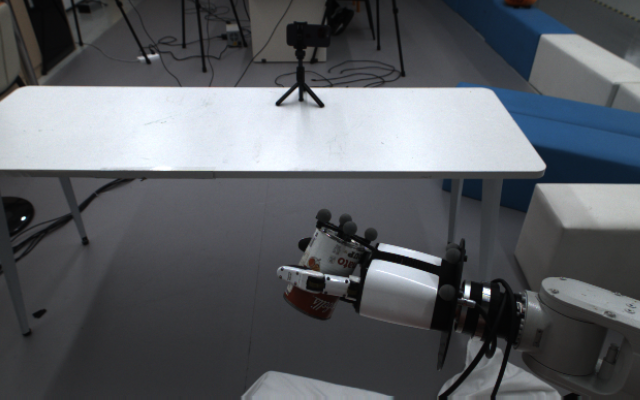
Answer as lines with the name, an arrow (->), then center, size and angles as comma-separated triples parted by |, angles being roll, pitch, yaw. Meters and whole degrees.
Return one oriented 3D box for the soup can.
soup can -> 0.006, 0.090, 0.609 | 0.067, 0.101, 0.067 | 27, 6, -3
